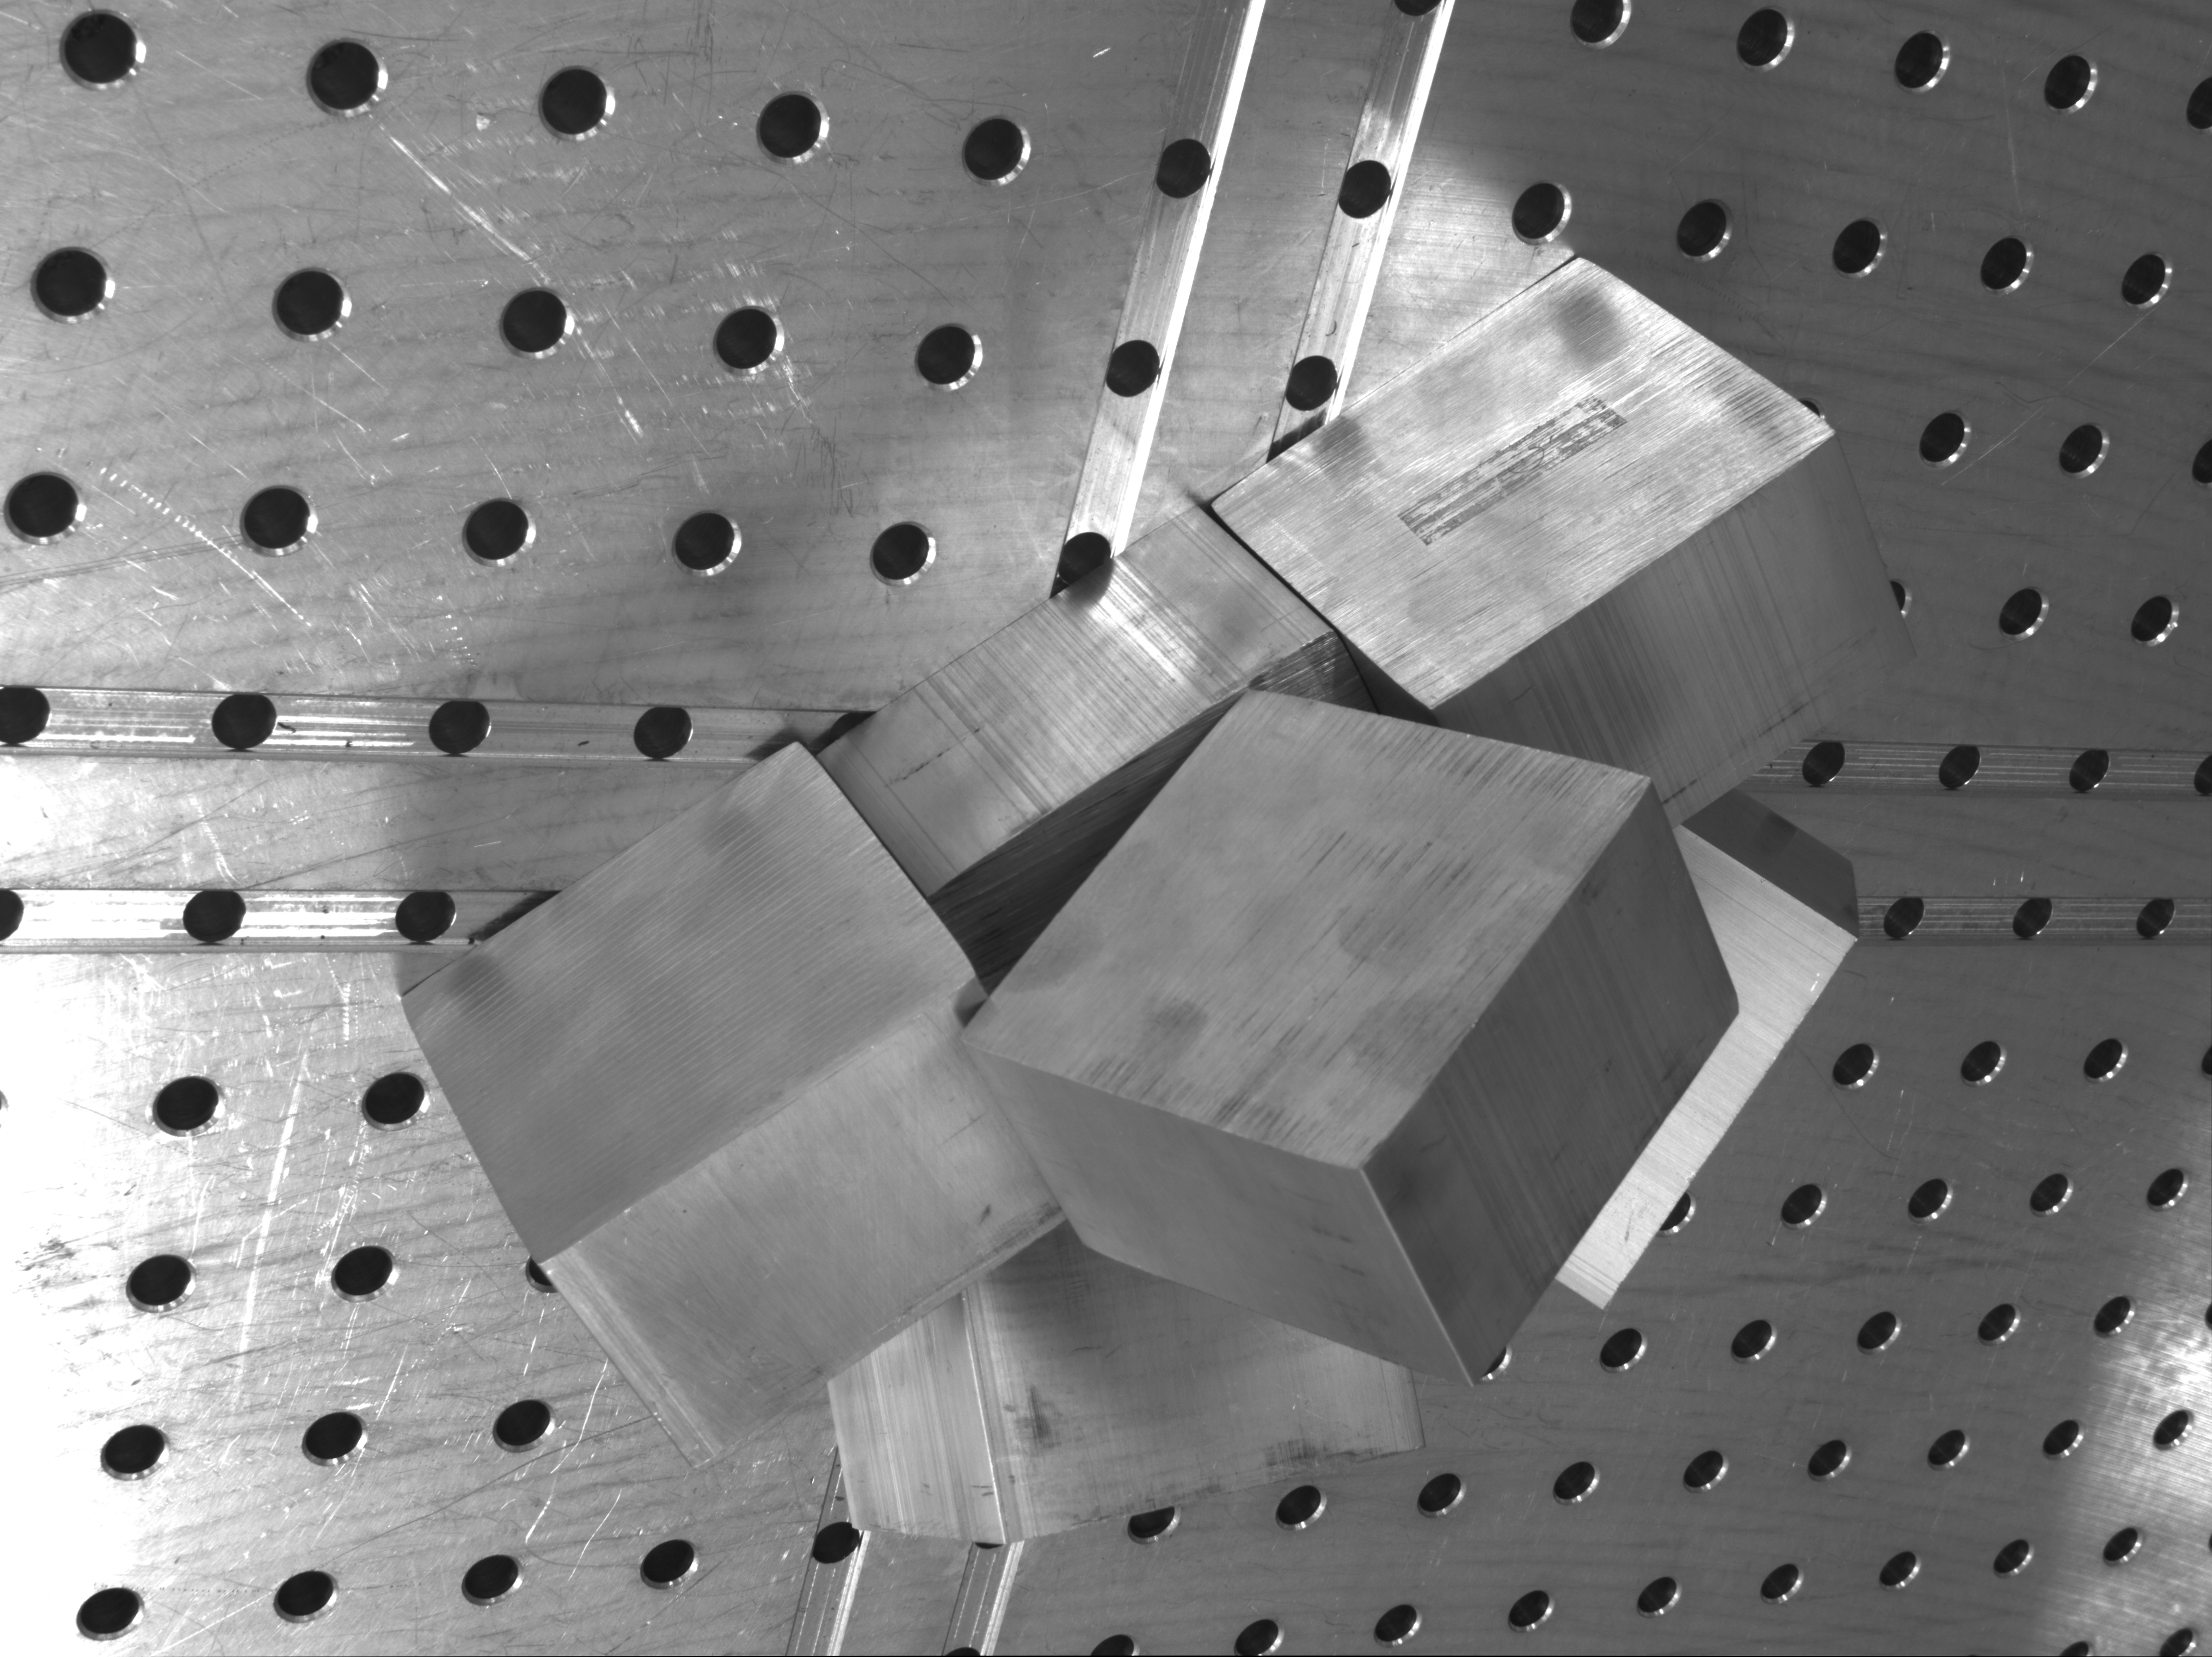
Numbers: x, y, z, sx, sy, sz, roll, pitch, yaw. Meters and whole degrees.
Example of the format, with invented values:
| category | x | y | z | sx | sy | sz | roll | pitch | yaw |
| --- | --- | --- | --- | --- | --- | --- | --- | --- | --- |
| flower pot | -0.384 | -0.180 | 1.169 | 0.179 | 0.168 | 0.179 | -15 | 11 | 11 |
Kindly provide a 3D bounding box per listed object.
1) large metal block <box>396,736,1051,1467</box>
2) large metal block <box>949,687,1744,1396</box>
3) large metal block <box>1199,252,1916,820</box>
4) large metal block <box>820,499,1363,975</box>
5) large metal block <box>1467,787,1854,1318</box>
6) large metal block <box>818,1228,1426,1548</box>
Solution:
| category | x | y | z | sx | sy | sz | roll | pitch | yaw |
| --- | --- | --- | --- | --- | --- | --- | --- | --- | --- |
| large metal block | -0.059 | 0.043 | 0.598 | 0.080 | 0.080 | 0.050 | -33 | 129 | -7 |
| large metal block | 0.038 | 0.030 | 0.563 | 0.080 | 0.080 | 0.050 | -50 | 133 | -26 |
| large metal block | 0.075 | -0.042 | 0.620 | 0.080 | 0.080 | 0.050 | -34 | 129 | -6 |
| large metal block | 0.008 | 0.005 | 0.633 | 0.080 | 0.050 | 0.080 | -34 | 129 | -6 |
| large metal block | 0.091 | 0.032 | 0.665 | 0.050 | 0.080 | 0.080 | 33 | 103 | 4 |
| large metal block | -0.001 | 0.093 | 0.652 | 0.080 | 0.080 | 0.050 | -8 | 85 | -24 |
